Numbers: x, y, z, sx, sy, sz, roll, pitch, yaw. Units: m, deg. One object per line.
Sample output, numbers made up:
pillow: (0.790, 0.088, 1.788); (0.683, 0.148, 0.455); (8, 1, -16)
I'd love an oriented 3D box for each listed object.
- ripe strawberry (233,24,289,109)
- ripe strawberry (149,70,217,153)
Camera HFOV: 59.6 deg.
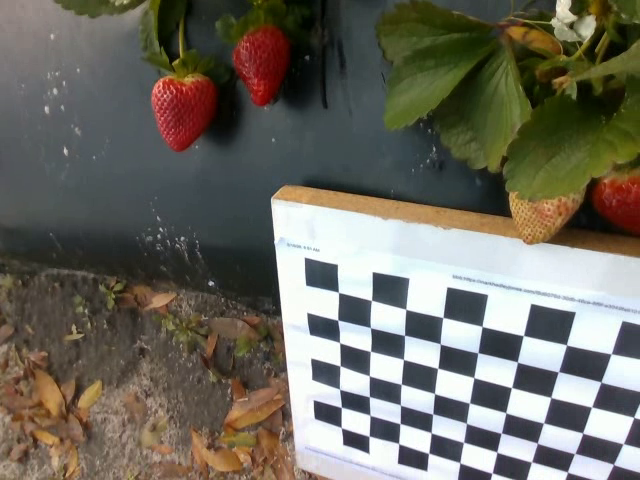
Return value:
ripe strawberry: (-0.040, -0.109, 0.344); (0.042, 0.053, 0.034); (-2, -3, 31)
ripe strawberry: (-0.094, -0.087, 0.376); (0.050, 0.061, 0.045); (3, -4, 28)
